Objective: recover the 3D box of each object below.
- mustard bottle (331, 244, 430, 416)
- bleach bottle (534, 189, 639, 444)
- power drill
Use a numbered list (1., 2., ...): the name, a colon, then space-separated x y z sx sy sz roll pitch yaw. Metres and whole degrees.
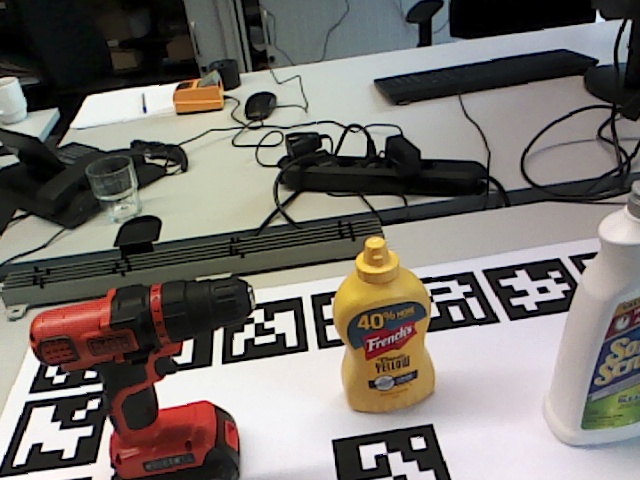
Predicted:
1. mustard bottle: 0.060 0.087 0.605 0.096 0.191 0.059 -11 34 -8
2. bleach bottle: 0.251 0.071 0.534 0.103 0.250 0.068 -3 34 6
3. power drill: -0.127 0.113 0.548 0.184 0.186 0.057 -14 35 -3
